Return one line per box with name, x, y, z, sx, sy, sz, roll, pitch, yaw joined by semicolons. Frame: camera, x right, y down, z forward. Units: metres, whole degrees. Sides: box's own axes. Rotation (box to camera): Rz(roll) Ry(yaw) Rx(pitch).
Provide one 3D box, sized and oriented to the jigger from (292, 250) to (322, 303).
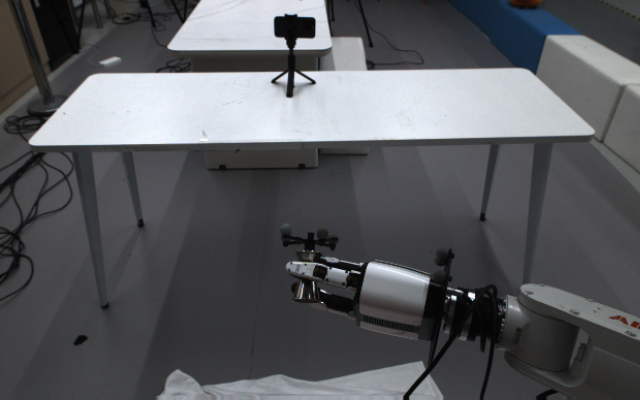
jigger;-0.018;0.106;0.678;0.043;0.043;0.071;3;72;1
